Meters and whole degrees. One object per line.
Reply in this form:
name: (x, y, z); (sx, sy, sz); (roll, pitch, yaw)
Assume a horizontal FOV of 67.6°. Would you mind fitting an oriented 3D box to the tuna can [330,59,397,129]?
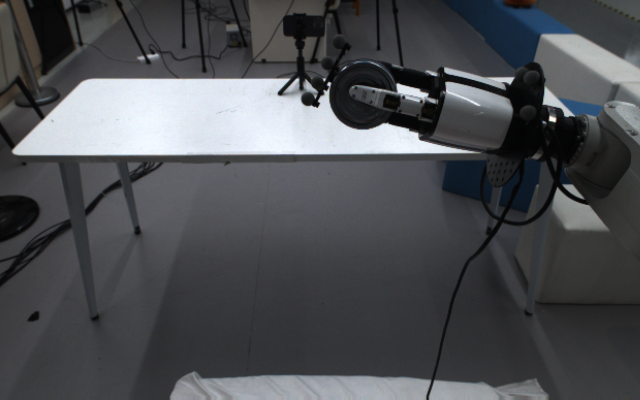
tuna can: (0.057, -0.136, 0.615); (0.085, 0.085, 0.034); (3, 20, 1)
